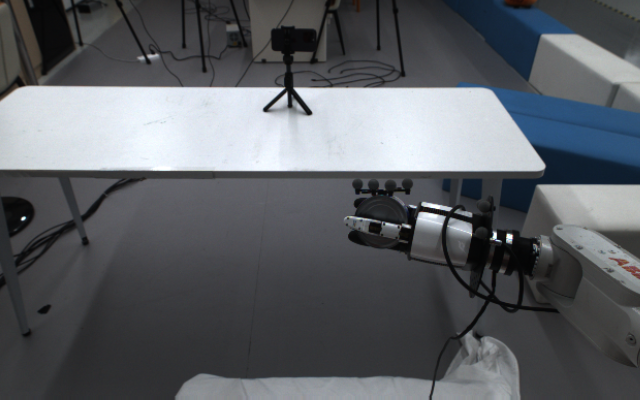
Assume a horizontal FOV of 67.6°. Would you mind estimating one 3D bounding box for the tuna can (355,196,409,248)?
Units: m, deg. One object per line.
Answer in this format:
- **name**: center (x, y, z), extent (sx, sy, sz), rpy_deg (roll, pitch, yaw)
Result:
- **tuna can**: center (0.100, 0.032, 0.769), extent (0.085, 0.085, 0.034), rpy_deg (15, 10, 18)
